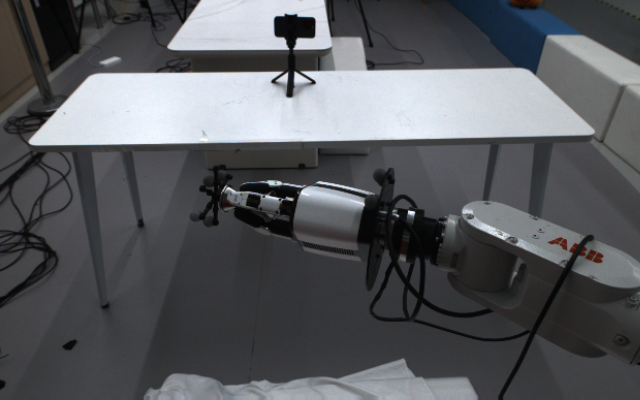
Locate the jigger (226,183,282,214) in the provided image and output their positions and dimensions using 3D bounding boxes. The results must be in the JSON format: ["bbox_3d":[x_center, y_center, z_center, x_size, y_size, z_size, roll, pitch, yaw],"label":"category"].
[{"bbox_3d":[-0.093,0.000,0.664,0.071,0.043,0.043,10,35,16],"label":"jigger"}]
